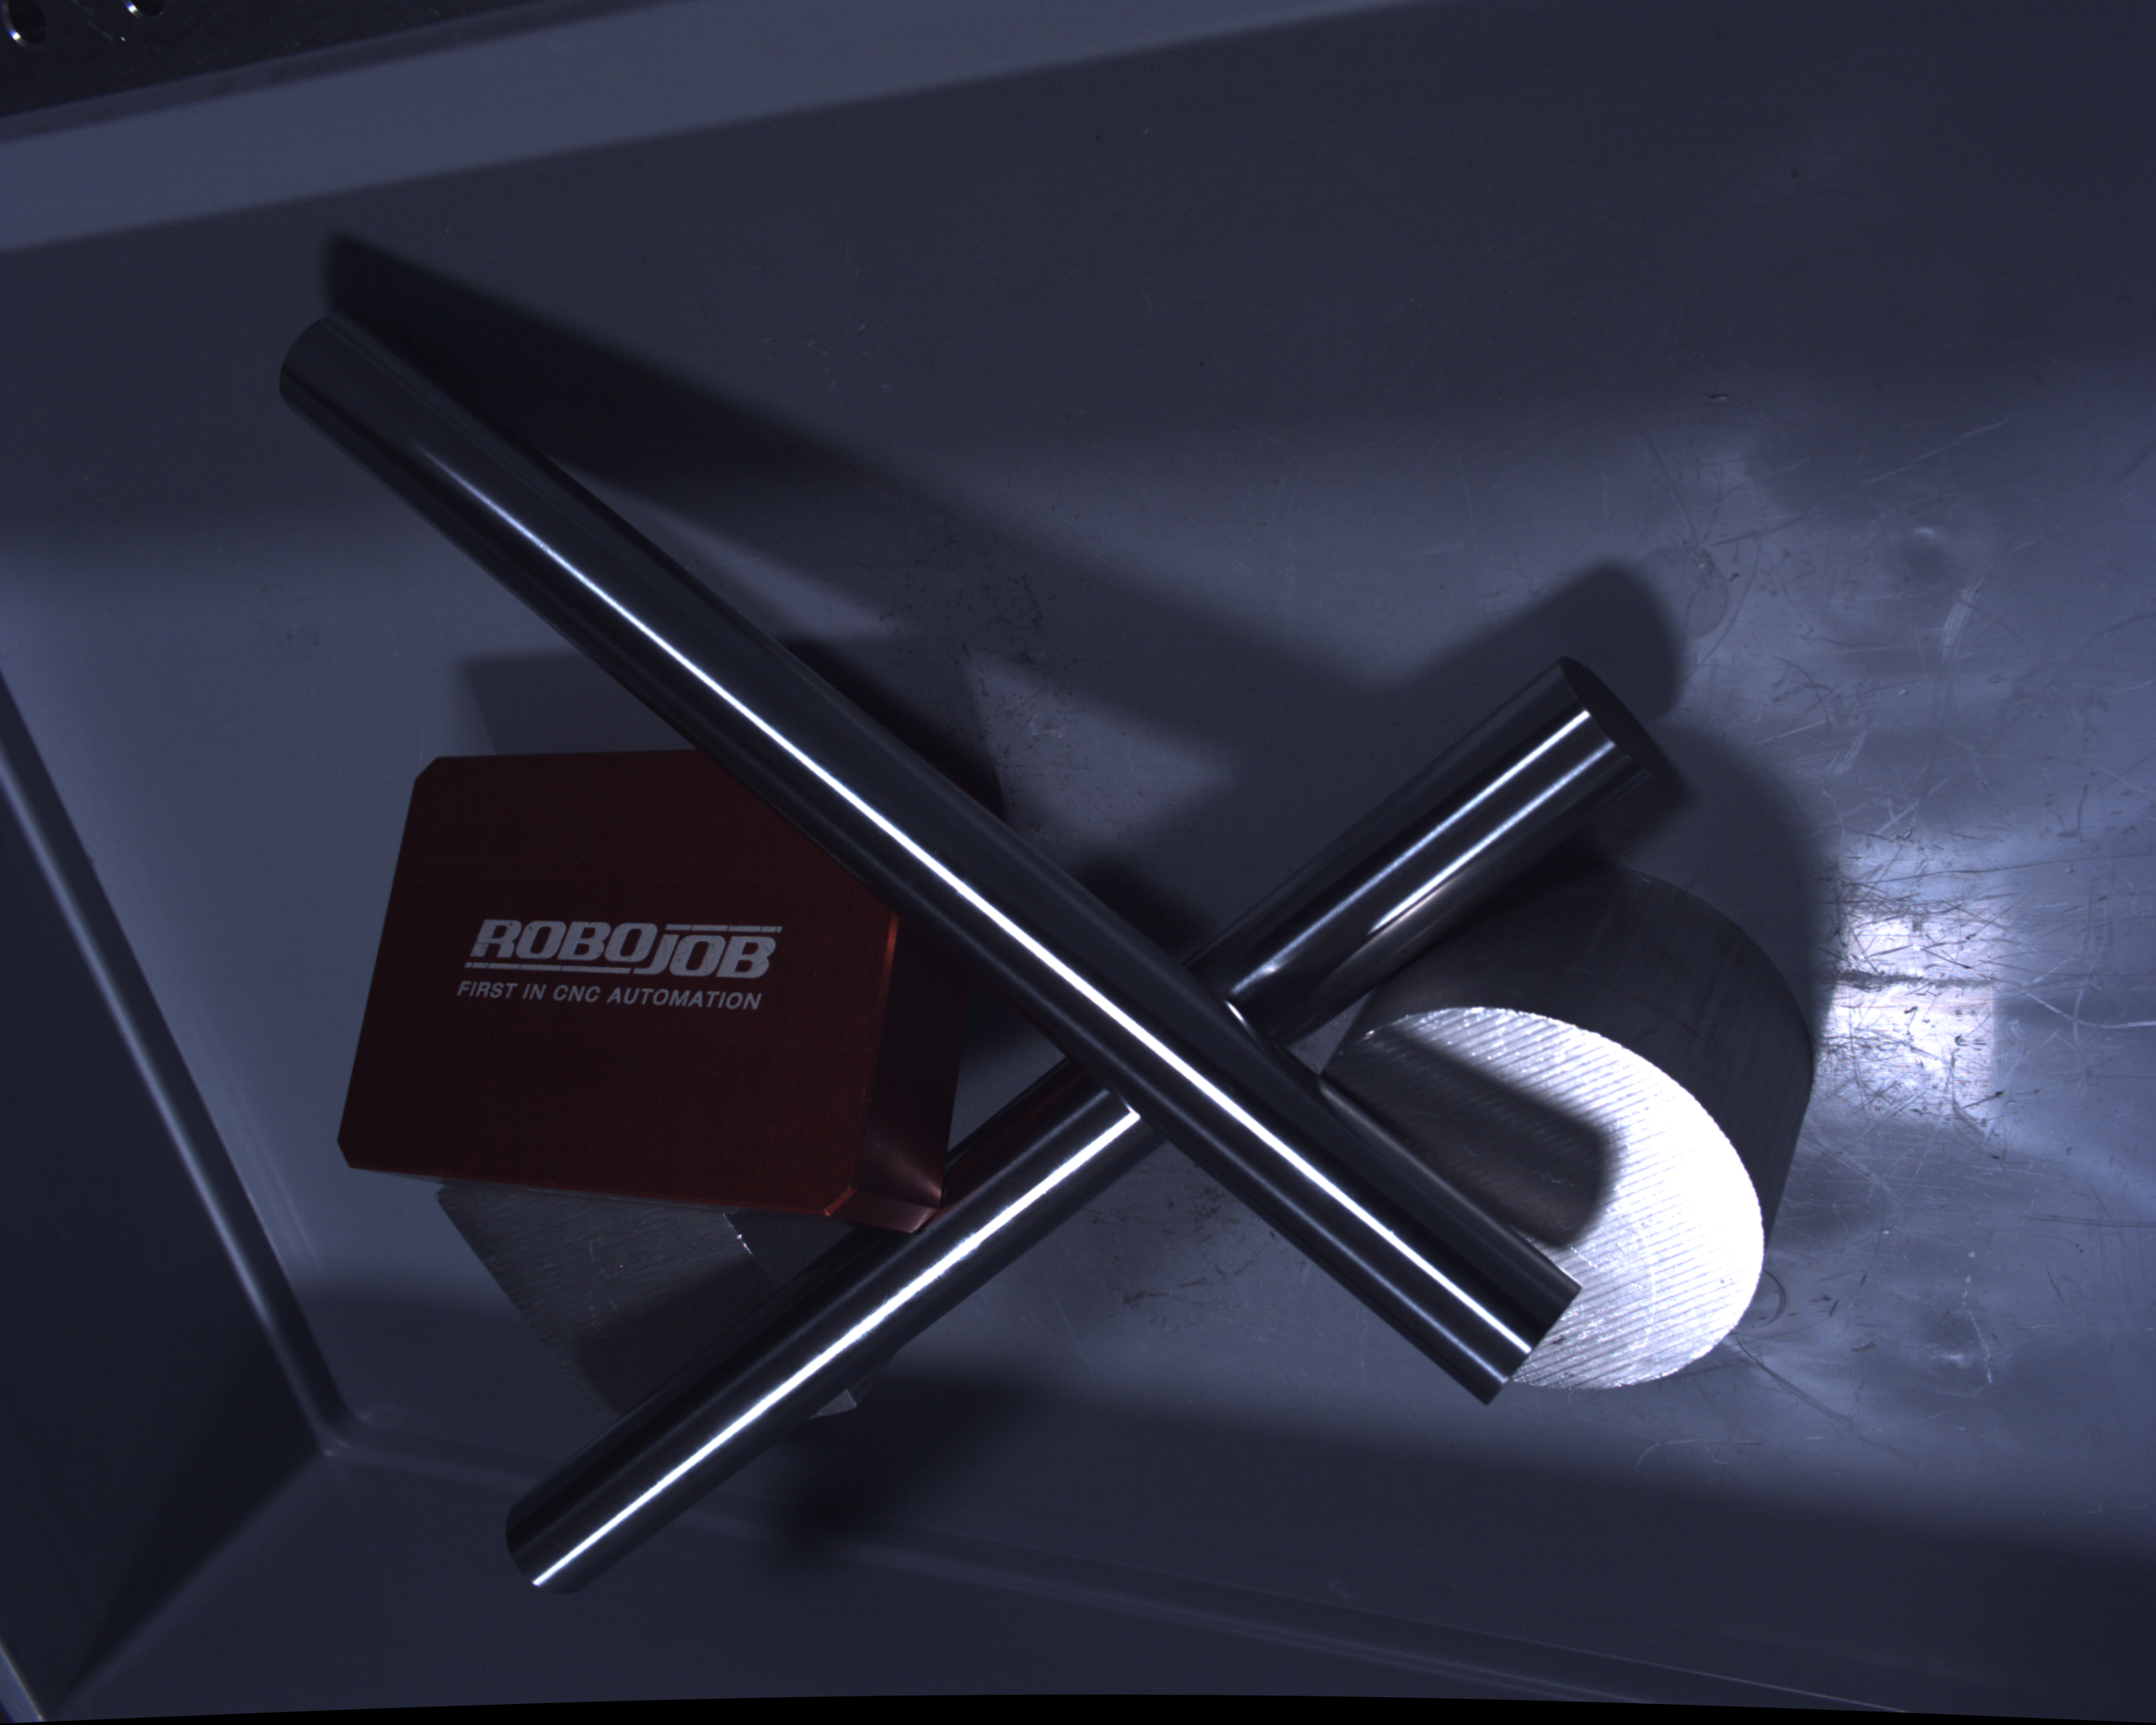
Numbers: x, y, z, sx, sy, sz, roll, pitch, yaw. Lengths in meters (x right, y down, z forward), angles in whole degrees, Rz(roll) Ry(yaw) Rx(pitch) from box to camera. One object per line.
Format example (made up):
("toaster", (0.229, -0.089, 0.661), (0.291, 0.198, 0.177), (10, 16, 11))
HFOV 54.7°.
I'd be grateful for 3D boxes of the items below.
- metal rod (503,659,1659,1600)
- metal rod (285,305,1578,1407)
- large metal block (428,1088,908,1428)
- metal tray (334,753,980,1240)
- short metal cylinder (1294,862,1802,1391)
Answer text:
("metal rod", (-0.015, 0.065, 0.406), (0.299, 0.025, 0.025), (-41, 95, 25))
("metal rod", (-0.039, -0.012, 0.380), (0.300, 0.025, 0.025), (39, 130, 17))
("large metal block", (-0.088, 0.086, 0.484), (0.080, 0.050, 0.080), (-21, 108, 35))
("metal tray", (-0.086, 0.024, 0.426), (0.130, 0.030, 0.090), (1, 75, 29))
("short metal cylinder", (0.085, 0.047, 0.373), (0.080, 0.050, 0.079), (13, 124, 20))
